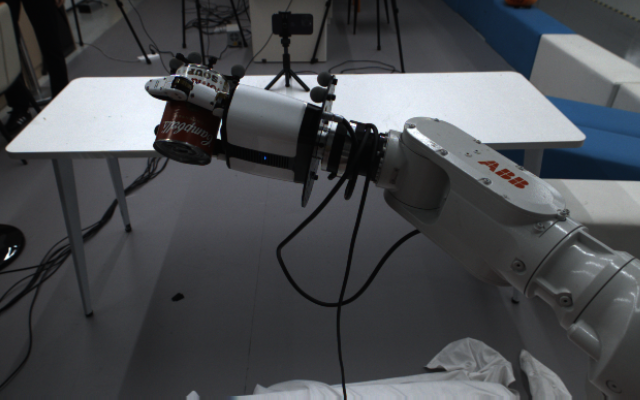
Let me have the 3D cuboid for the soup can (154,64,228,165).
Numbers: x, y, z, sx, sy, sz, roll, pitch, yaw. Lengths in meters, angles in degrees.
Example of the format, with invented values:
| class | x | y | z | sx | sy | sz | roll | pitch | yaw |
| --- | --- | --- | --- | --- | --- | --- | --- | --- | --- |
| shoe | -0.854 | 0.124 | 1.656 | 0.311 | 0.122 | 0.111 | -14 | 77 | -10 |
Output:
| class | x | y | z | sx | sy | sz | roll | pitch | yaw |
| --- | --- | --- | --- | --- | --- | --- | --- | --- | --- |
| soup can | -0.151 | -0.100 | 0.575 | 0.067 | 0.067 | 0.101 | 8 | 72 | 8 |
